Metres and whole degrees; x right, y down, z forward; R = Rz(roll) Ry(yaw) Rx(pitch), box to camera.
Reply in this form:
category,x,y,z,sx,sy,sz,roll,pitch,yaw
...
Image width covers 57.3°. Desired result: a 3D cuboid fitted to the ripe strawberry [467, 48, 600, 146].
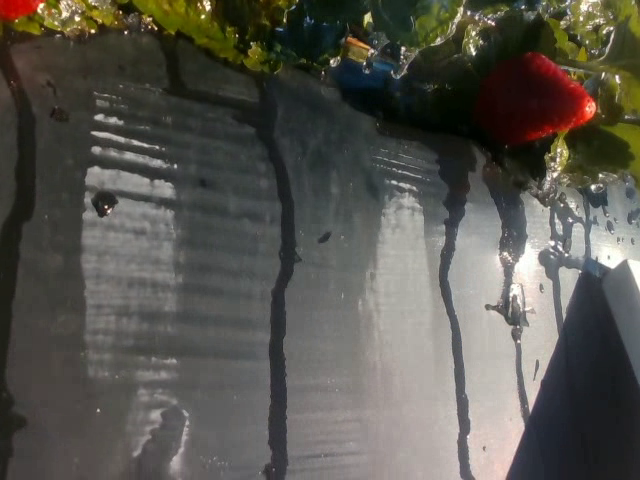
category,x,y,z,sx,sy,sz,roll,pitch,yaw
ripe strawberry,0.088,-0.055,0.229,0.041,0.047,0.052,9,13,-19
